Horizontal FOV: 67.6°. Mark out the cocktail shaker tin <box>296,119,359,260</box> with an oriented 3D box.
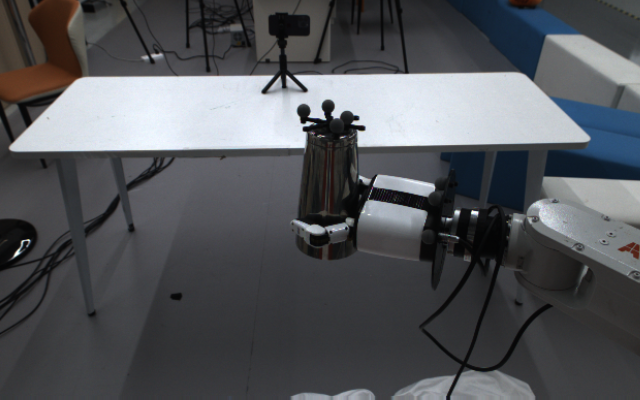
[{"bbox_3d":[0.014,-0.016,0.657,0.093,0.170,0.093,1,28,-1],"label":"cocktail shaker tin"}]
